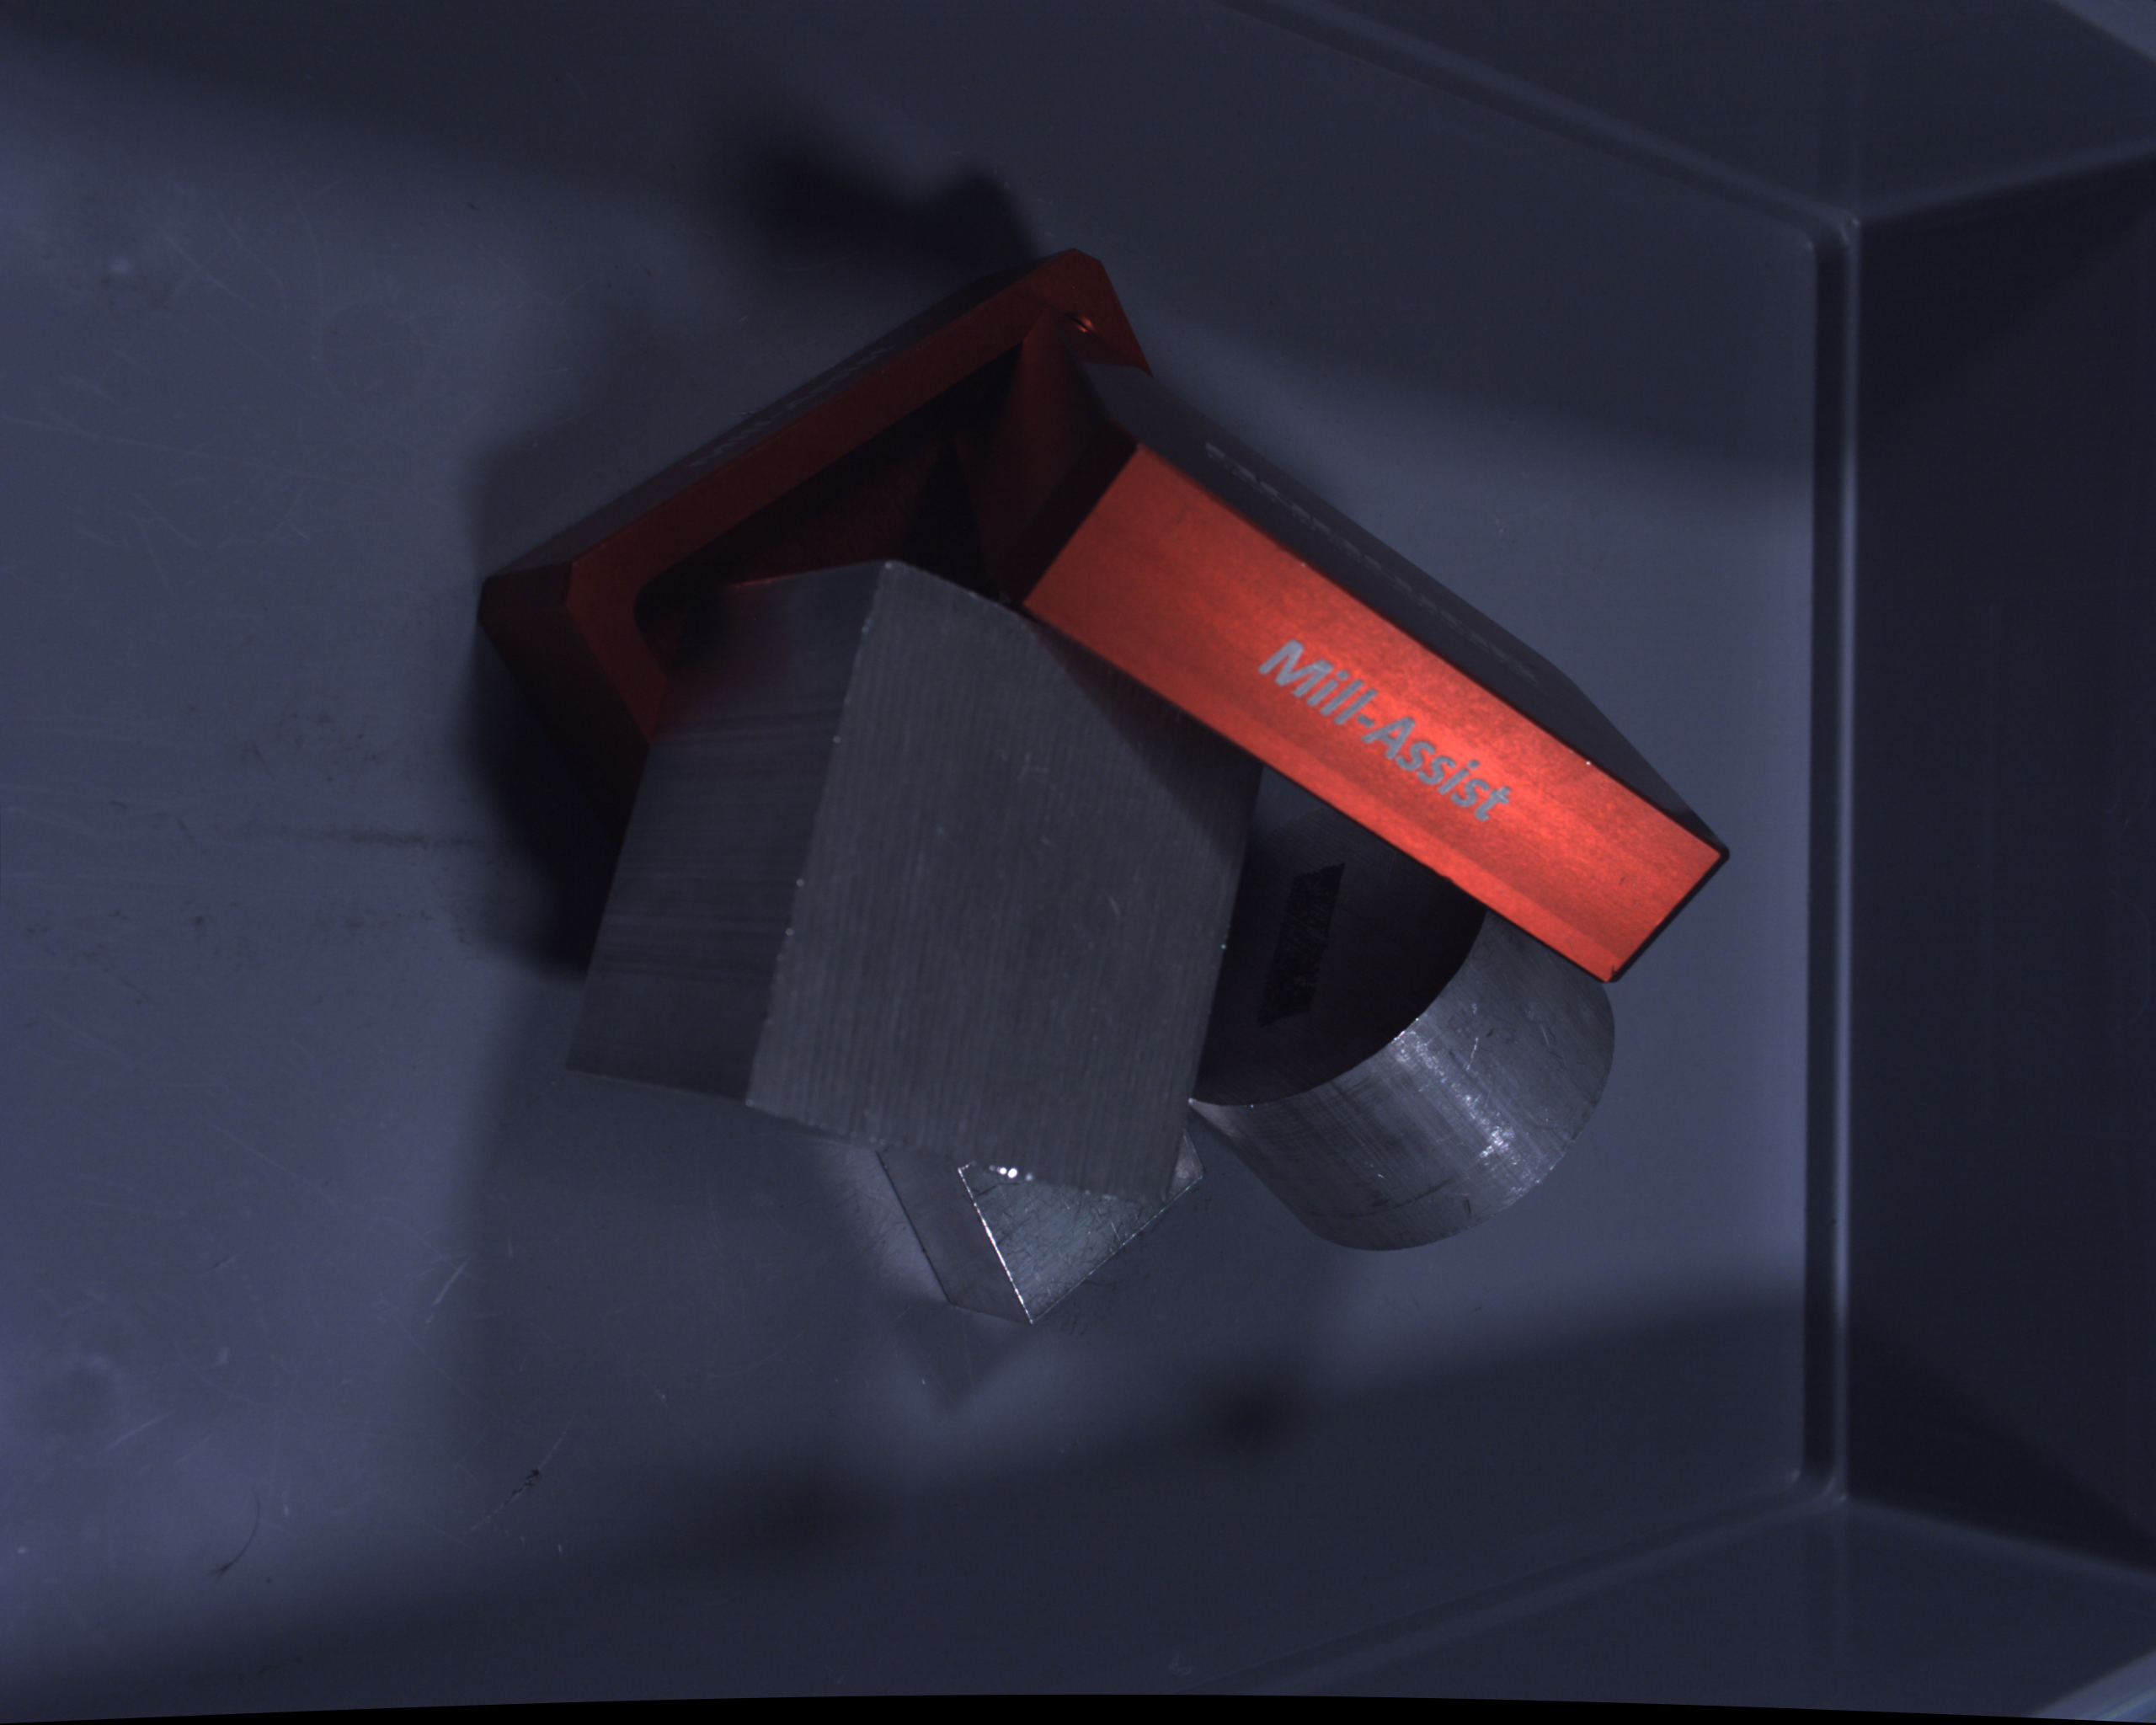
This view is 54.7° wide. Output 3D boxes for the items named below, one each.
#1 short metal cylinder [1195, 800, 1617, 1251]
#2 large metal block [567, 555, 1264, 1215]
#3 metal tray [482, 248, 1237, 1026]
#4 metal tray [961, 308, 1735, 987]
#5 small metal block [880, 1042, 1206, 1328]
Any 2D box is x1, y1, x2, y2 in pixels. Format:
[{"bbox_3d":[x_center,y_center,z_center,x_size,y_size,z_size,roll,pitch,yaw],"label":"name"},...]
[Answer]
[{"bbox_3d":[0.061,0.031,0.423,0.050,0.080,0.080,47,62,-30],"label":"short metal cylinder"},{"bbox_3d":[-0.023,0.006,0.329,0.080,0.050,0.080,21,77,-38],"label":"large metal block"},{"bbox_3d":[-0.029,-0.043,0.378,0.131,0.030,0.090,-41,115,-32],"label":"metal tray"},{"bbox_3d":[0.044,-0.039,0.363,0.131,0.090,0.030,31,108,-21],"label":"metal tray"},{"bbox_3d":[-0.009,0.052,0.399,0.050,0.025,0.050,-36,112,-34],"label":"small metal block"}]
